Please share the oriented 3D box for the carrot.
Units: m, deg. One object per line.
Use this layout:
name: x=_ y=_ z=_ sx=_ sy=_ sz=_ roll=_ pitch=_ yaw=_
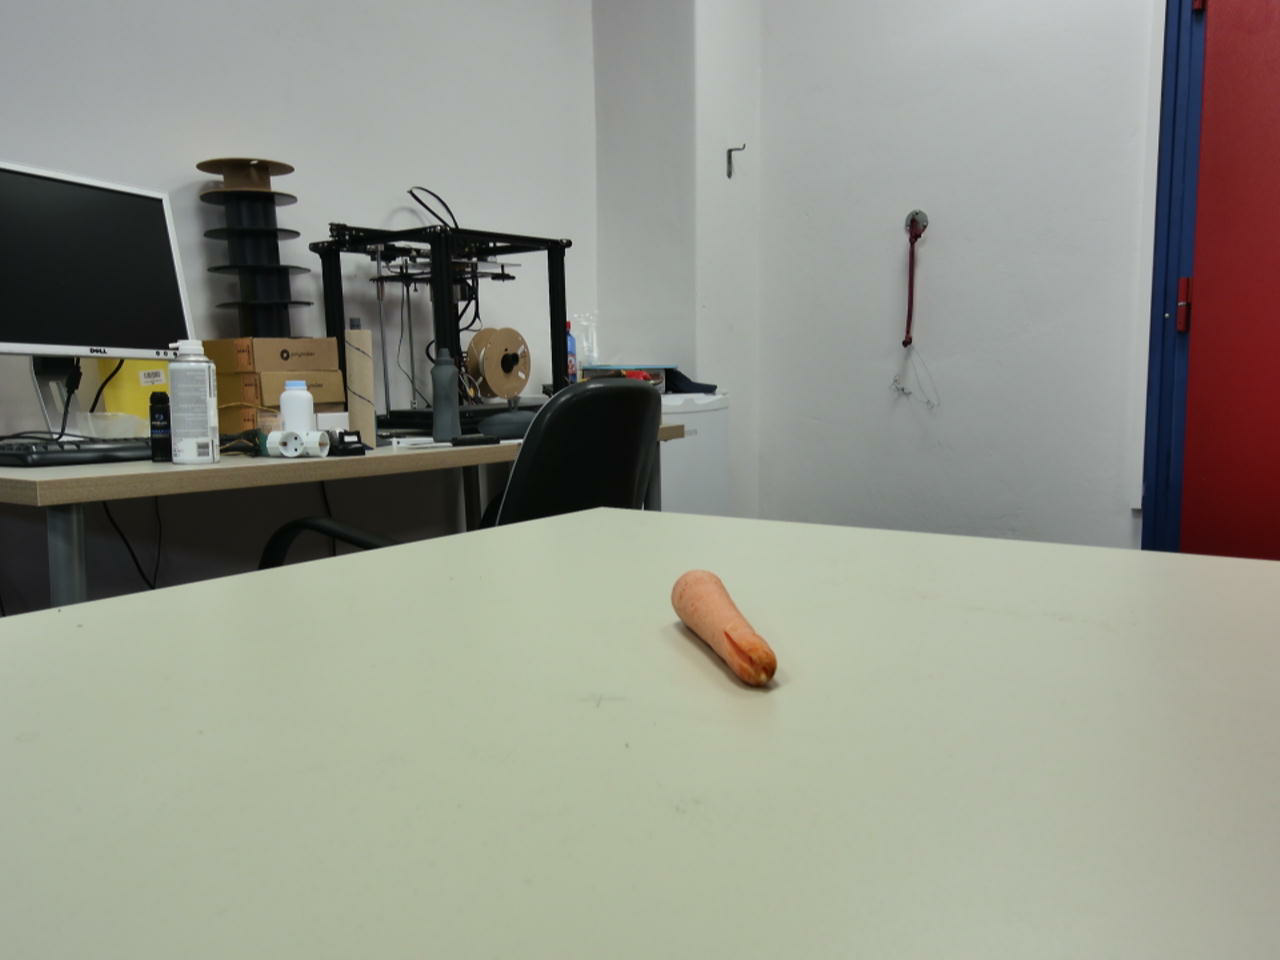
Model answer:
carrot: x=0.038 y=0.066 z=0.477 sx=0.030 sy=0.032 sz=0.136 roll=0 pitch=4 yaw=-8
